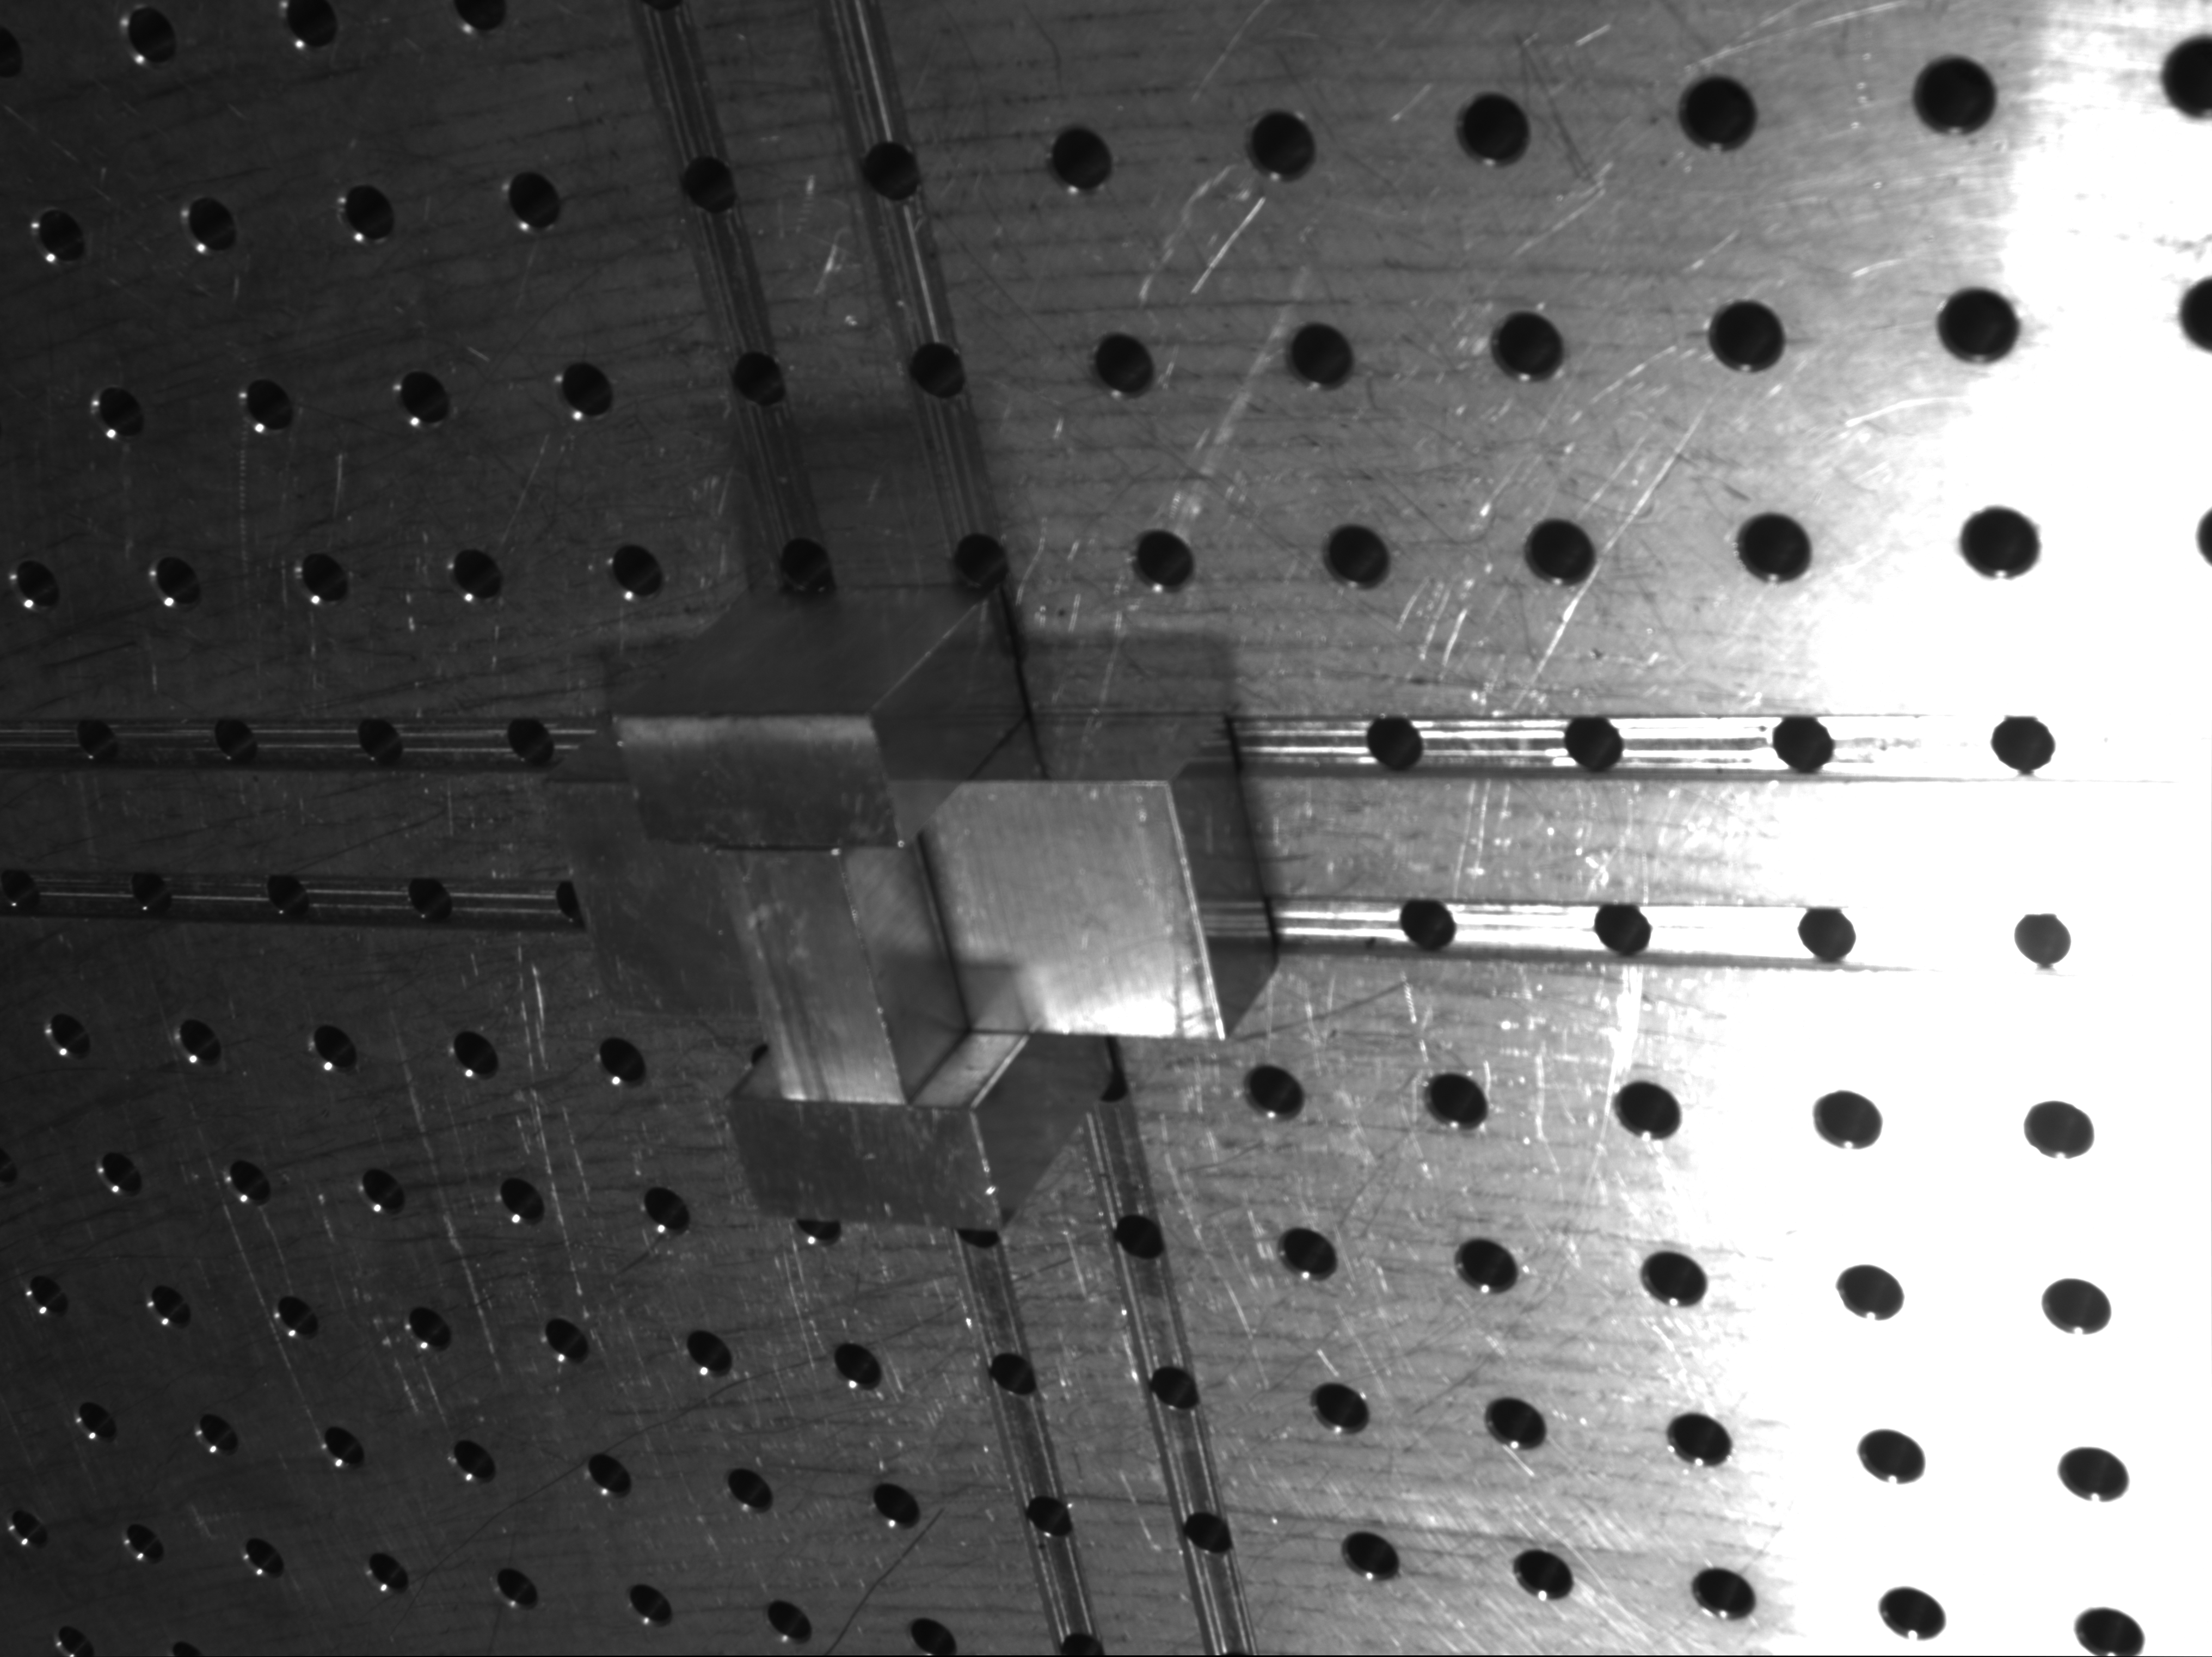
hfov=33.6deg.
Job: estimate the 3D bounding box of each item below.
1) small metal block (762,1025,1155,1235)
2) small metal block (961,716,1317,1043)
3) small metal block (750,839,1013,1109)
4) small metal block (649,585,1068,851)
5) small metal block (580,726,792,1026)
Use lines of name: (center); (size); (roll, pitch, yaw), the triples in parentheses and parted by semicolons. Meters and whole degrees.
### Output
small metal block: (-0.026, 0.047, 0.659); (0.050, 0.050, 0.025); (1, 118, 26)
small metal block: (0.005, 0.008, 0.636); (0.050, 0.025, 0.050); (1, 119, 26)
small metal block: (-0.034, 0.014, 0.643); (0.025, 0.050, 0.050); (1, 119, 26)
small metal block: (-0.042, -0.019, 0.627); (0.050, 0.050, 0.025); (1, 118, 26)
small metal block: (-0.062, 0.008, 0.670); (0.050, 0.025, 0.050); (0, 118, 26)
